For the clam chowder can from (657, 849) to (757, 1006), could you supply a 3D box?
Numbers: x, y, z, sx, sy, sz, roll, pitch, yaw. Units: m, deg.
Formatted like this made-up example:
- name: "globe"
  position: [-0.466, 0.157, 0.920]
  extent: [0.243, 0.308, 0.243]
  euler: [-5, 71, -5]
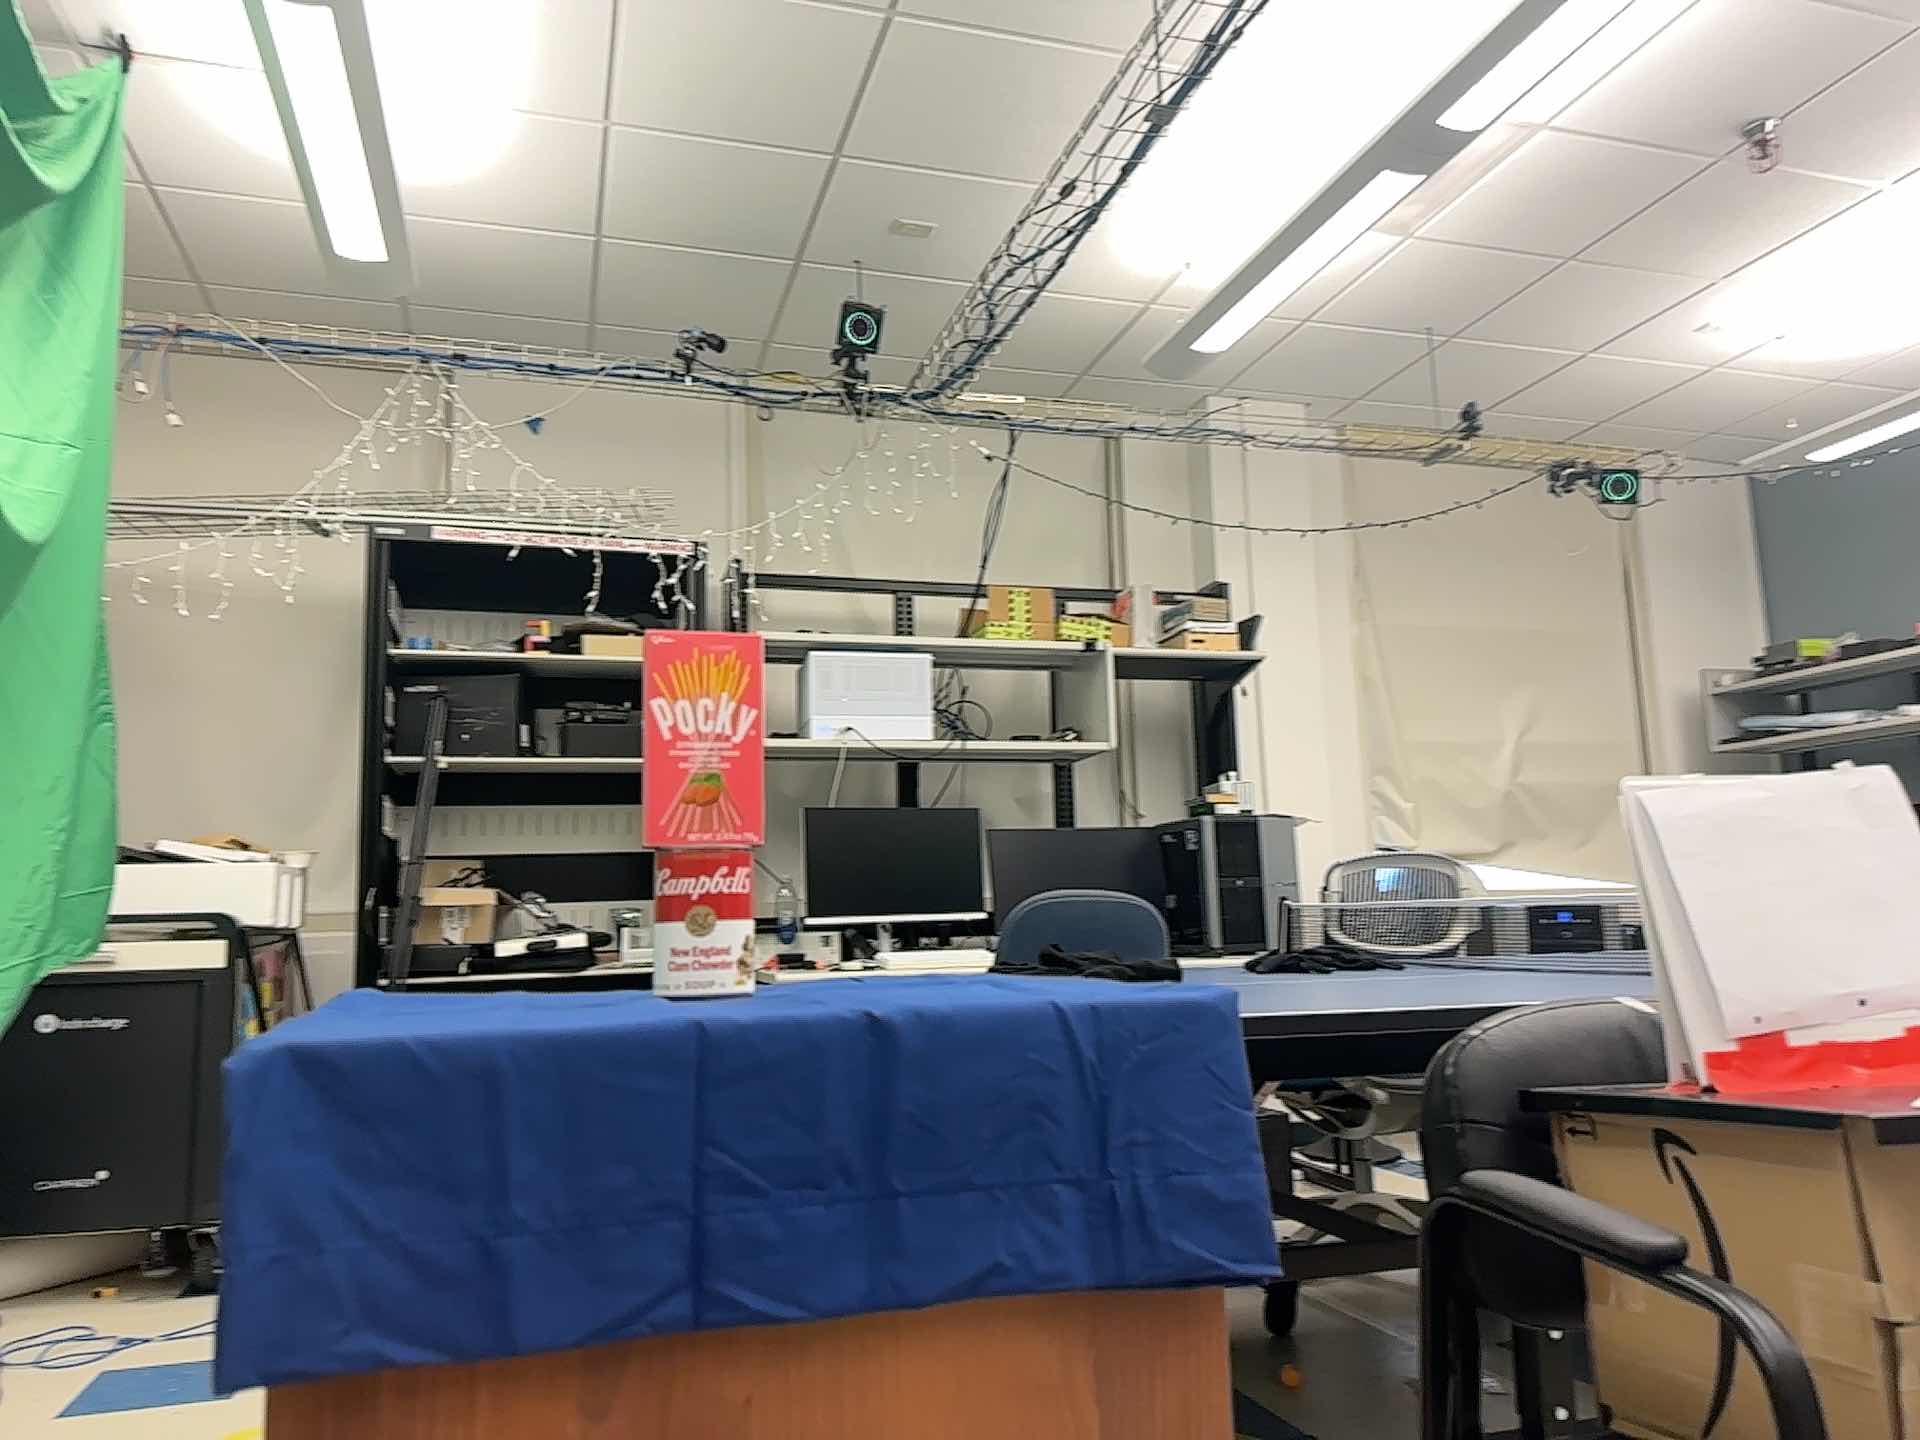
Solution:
- name: "clam chowder can"
  position: [-0.174, 0.141, 0.920]
  extent: [0.068, 0.102, 0.068]
  euler: [-2, -9, 0]

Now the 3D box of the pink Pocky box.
- name: "pink Pocky box"
  position: [-0.179, 0.014, 0.934]
  extent: [0.084, 0.155, 0.029]
  euler: [0, -8, -12]
